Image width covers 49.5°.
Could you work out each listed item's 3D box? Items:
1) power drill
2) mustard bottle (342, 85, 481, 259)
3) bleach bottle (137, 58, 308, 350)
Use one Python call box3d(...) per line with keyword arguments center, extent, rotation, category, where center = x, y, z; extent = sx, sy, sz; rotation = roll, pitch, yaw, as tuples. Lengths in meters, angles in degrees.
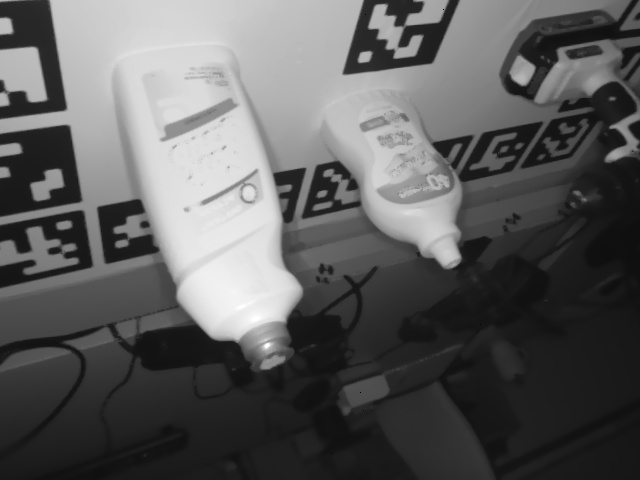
box3d(center=(0.287, -0.109, 0.661), extent=(0.186, 0.187, 0.057), rotation=(-20, 147, -16), category="power drill")
box3d(center=(0.095, -0.062, 0.651), extent=(0.097, 0.191, 0.058), rotation=(-16, 146, -11), category="mustard bottle")
box3d(center=(-0.064, -0.033, 0.521), extent=(0.104, 0.251, 0.067), rotation=(-8, 144, -25), category="bleach bottle")
